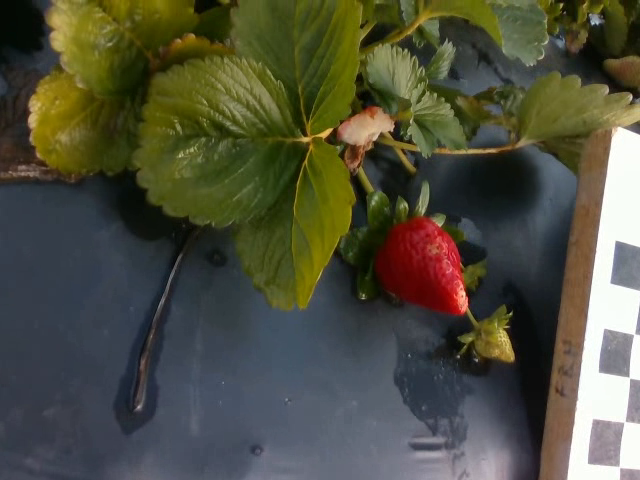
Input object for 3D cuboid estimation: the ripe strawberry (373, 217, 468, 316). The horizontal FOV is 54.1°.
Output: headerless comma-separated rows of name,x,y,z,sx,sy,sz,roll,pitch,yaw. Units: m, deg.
ripe strawberry,0.057,0.017,0.307,0.043,0.052,0.057,-15,33,-18
